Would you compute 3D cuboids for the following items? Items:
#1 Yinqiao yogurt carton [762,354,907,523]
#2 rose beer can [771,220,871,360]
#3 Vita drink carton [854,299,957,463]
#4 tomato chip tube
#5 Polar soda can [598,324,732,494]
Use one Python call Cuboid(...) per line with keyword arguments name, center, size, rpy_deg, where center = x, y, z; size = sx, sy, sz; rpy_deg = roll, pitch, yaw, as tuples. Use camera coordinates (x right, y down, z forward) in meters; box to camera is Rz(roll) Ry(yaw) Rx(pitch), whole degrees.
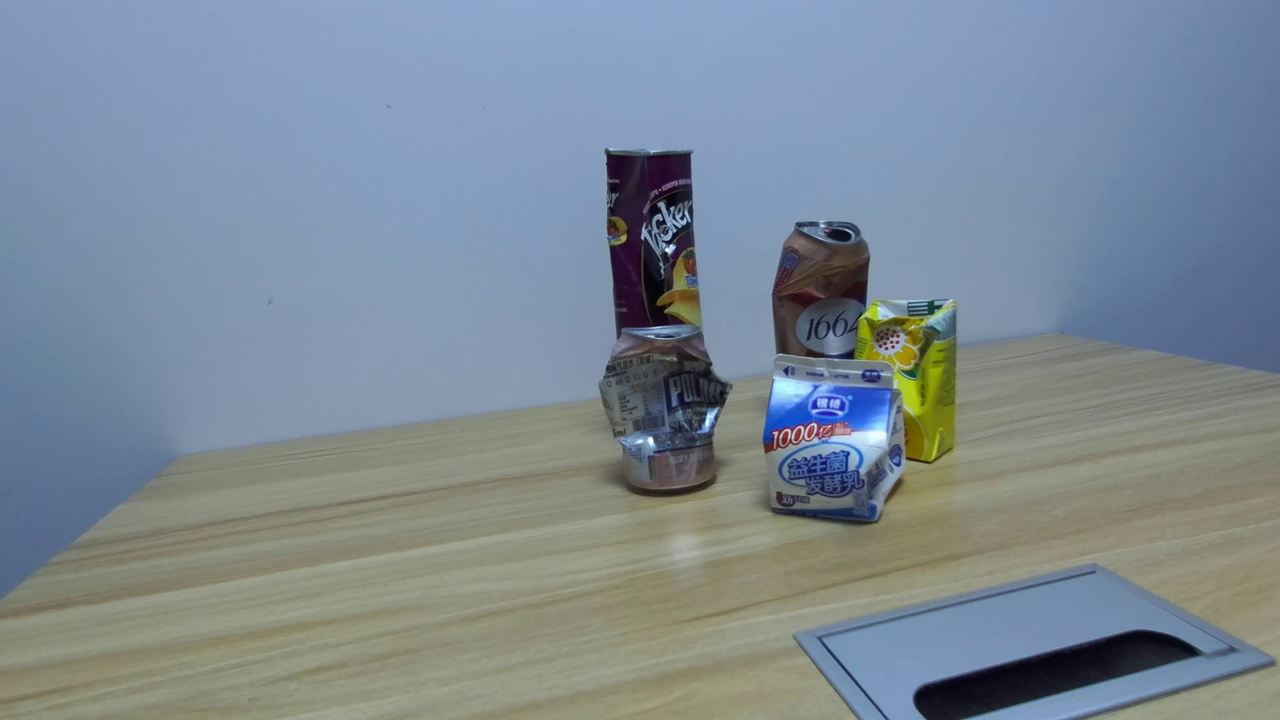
Cuboid(name="Yinqiao yogurt carton", center=(0.119, 0.043, 0.429), size=(0.074, 0.097, 0.080), rpy_deg=(1, 21, 25))
Cuboid(name="rose beer can", center=(0.152, -0.031, 0.594), size=(0.069, 0.168, 0.069), rpy_deg=(6, 19, 26))
Cuboid(name="Vita drink carton", center=(0.189, 0.013, 0.514), size=(0.047, 0.109, 0.071), rpy_deg=(-13, 14, -43))
Cuboid(name="tomato chip tube", center=(0.016, -0.048, 0.569), size=(0.090, 0.235, 0.077), rpy_deg=(-6, 12, -13))
Cuboid(name="Polar soda can", center=(0.020, 0.032, 0.484), size=(0.070, 0.114, 0.074), rpy_deg=(11, 23, 34))
